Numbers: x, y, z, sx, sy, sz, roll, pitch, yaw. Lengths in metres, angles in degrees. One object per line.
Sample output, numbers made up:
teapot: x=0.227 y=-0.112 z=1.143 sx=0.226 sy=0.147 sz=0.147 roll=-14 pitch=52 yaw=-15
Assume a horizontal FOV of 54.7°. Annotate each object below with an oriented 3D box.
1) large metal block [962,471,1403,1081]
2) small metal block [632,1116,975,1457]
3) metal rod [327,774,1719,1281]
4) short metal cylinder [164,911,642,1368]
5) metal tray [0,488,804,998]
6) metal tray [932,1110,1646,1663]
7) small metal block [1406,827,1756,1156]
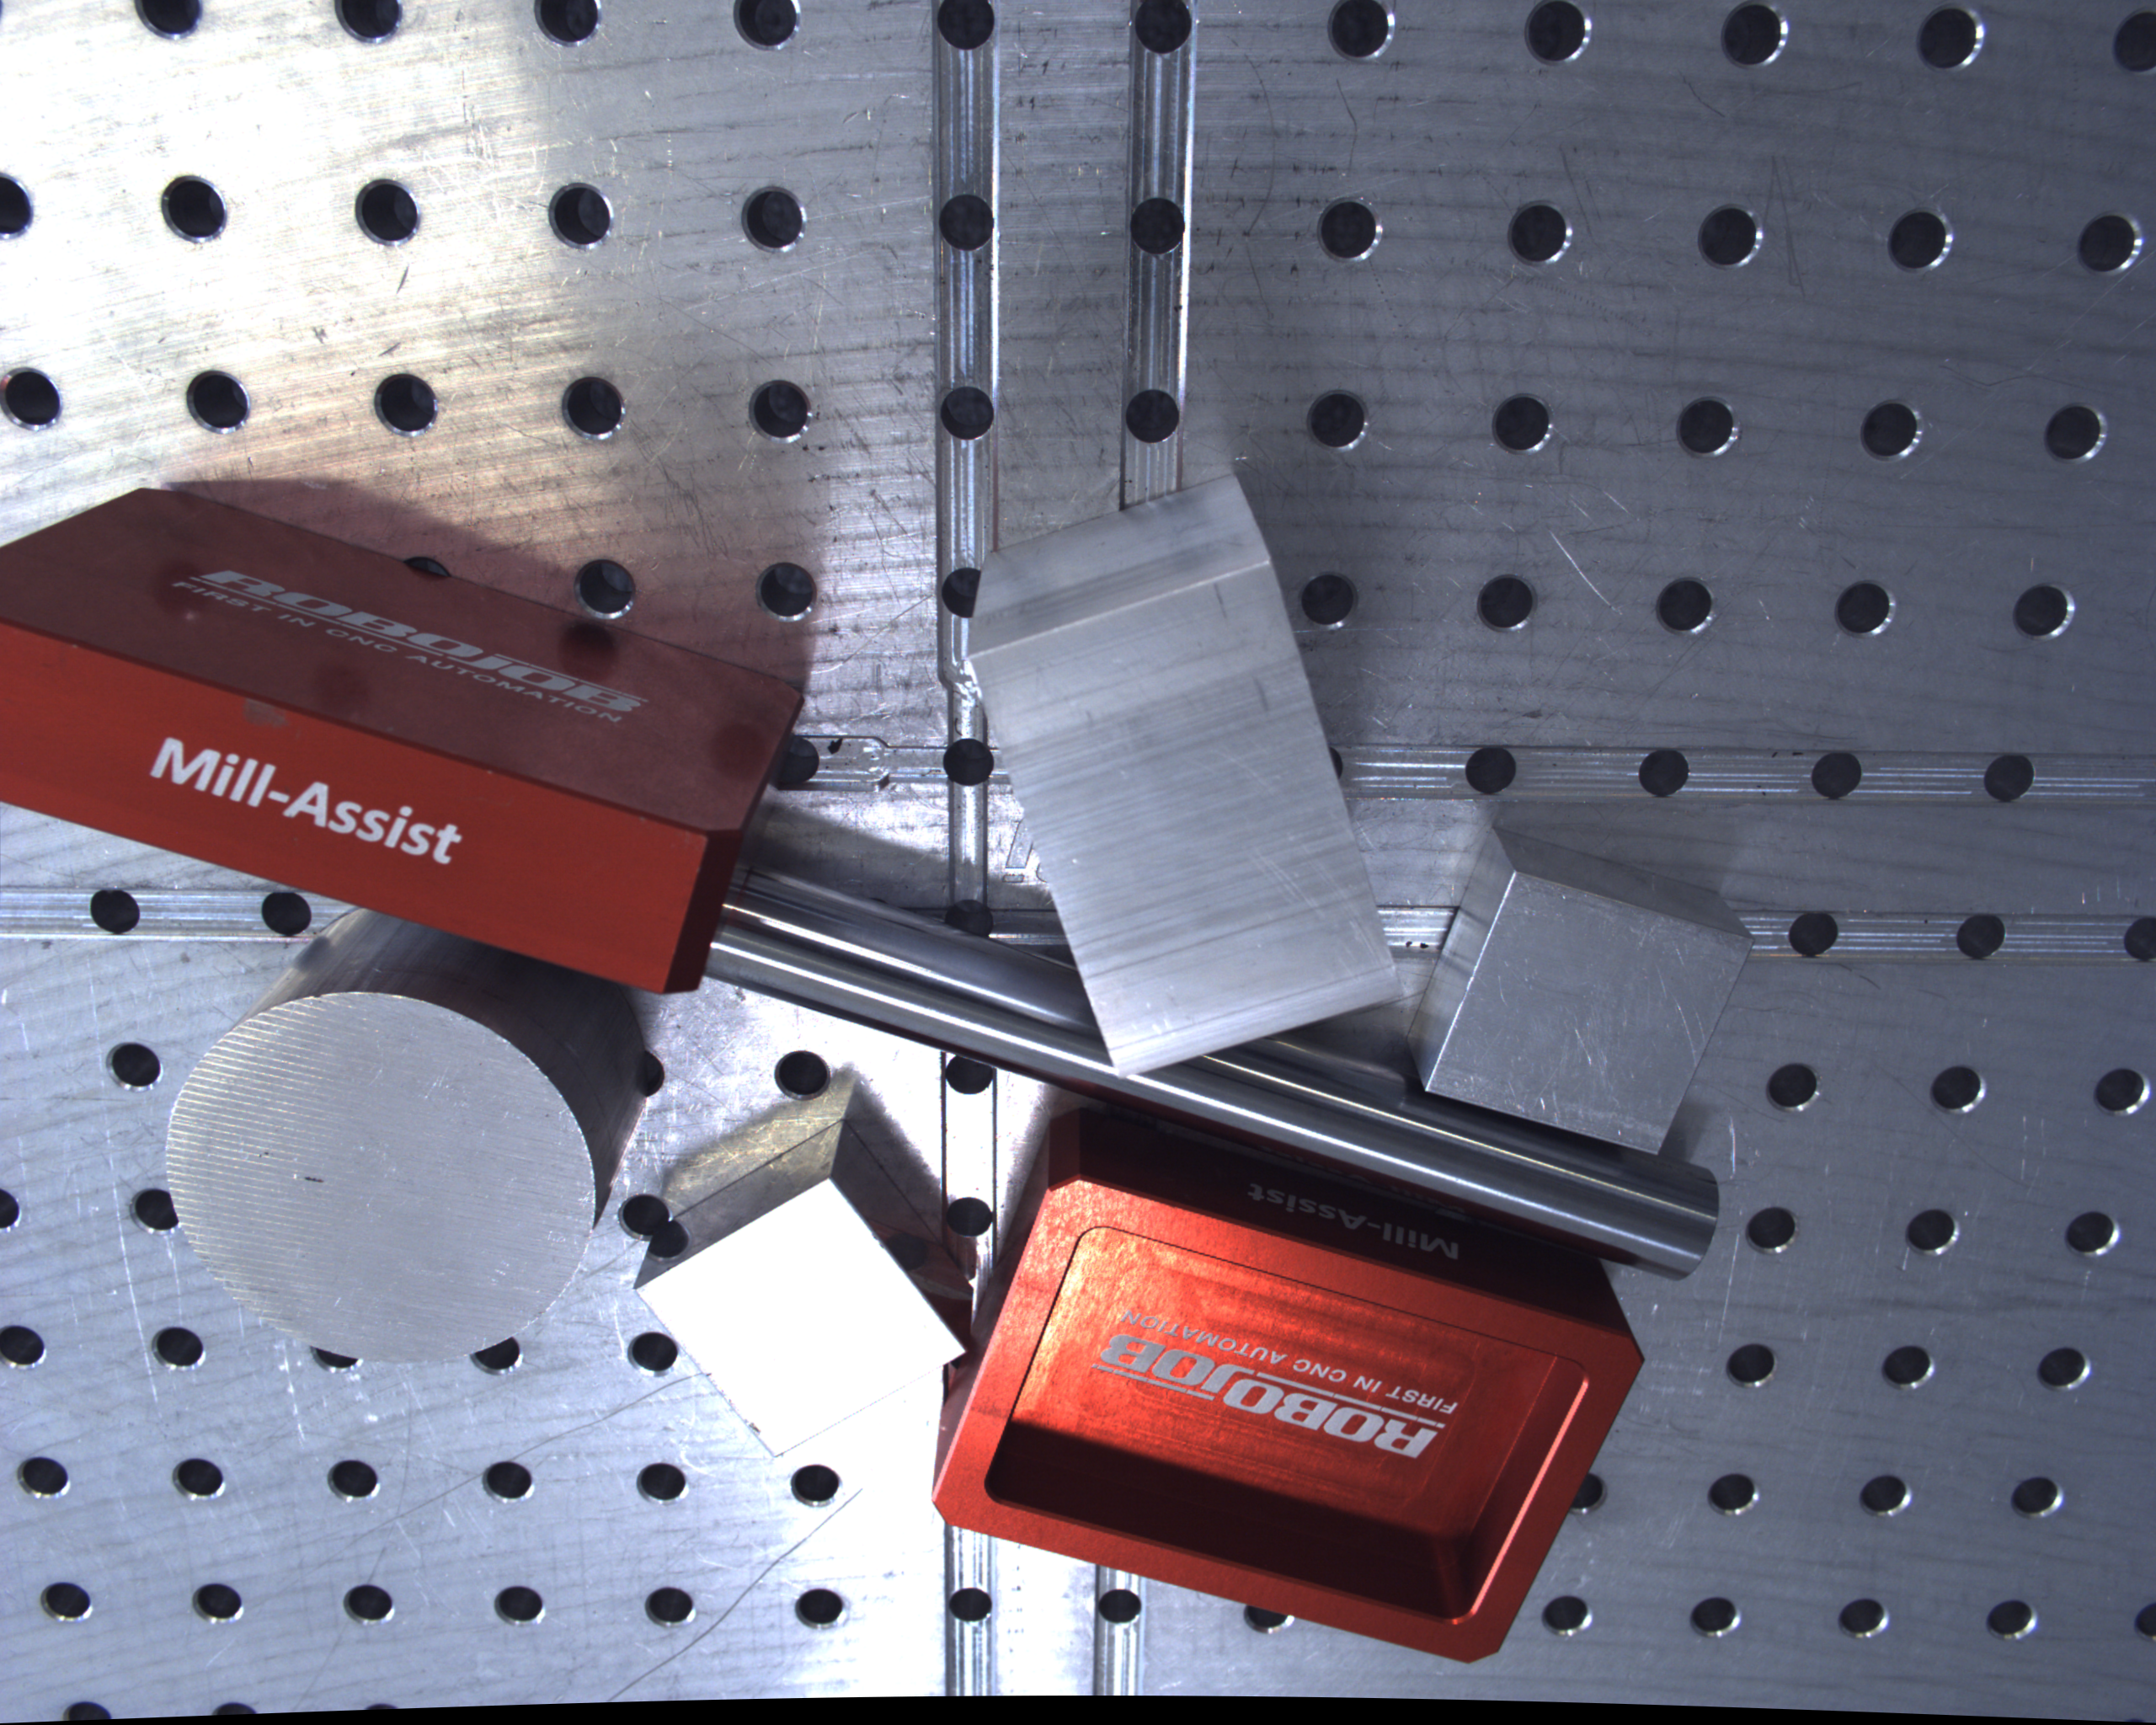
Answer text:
large metal block: x=0.018 y=-0.019 z=0.378 sx=0.050 sy=0.080 sz=0.080 roll=-17 pitch=109 yaw=6
small metal block: x=-0.058 y=0.091 z=0.447 sx=0.050 sy=0.025 sz=0.050 roll=-31 pitch=107 yaw=10
metal rod: x=-0.013 y=0.030 z=0.424 sx=0.302 sy=0.025 sz=0.025 roll=18 pitch=109 yaw=-7
short metal cylinder: x=-0.132 y=0.053 z=0.417 sx=0.081 sy=0.050 sz=0.079 roll=0 pitch=110 yaw=0
metal tray: x=-0.120 y=-0.024 z=0.367 sx=0.131 sy=0.090 sz=0.030 roll=17 pitch=109 yaw=-7
metal tray: x=0.044 y=0.115 z=0.453 sx=0.131 sy=0.030 sz=0.089 roll=17 pitch=109 yaw=-7
small metal block: x=0.101 y=0.026 z=0.424 sx=0.050 sy=0.025 sz=0.050 roll=16 pitch=109 yaw=-6
